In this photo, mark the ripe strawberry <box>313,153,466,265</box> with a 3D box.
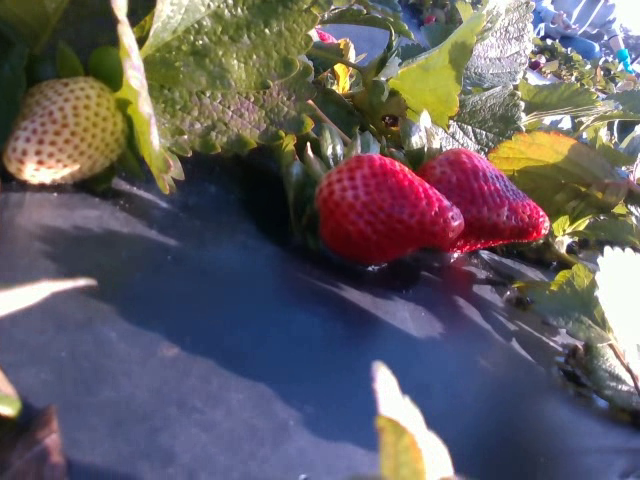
[{"bbox_3d":[0.022,-0.008,0.181,0.051,0.037,0.043,20,50,24],"label":"ripe strawberry"}]

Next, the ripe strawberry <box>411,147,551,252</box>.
[{"bbox_3d":[0.060,-0.011,0.222,0.057,0.046,0.052,23,45,30],"label":"ripe strawberry"}]
